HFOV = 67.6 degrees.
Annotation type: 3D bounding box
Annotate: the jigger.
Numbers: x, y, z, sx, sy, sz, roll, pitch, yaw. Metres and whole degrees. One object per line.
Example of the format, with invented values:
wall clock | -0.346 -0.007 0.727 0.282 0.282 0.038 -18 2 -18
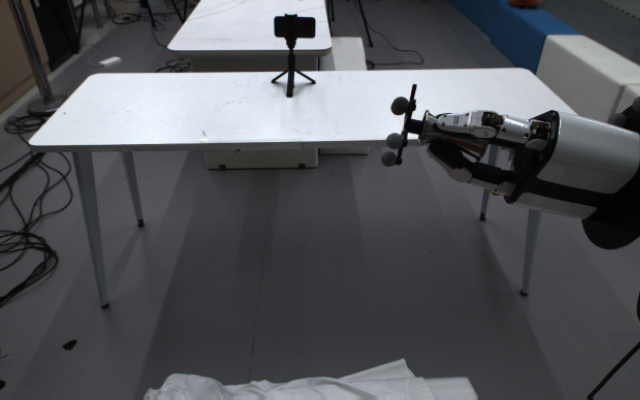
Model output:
jigger | 0.147 -0.076 0.525 0.071 0.043 0.043 12 35 3
